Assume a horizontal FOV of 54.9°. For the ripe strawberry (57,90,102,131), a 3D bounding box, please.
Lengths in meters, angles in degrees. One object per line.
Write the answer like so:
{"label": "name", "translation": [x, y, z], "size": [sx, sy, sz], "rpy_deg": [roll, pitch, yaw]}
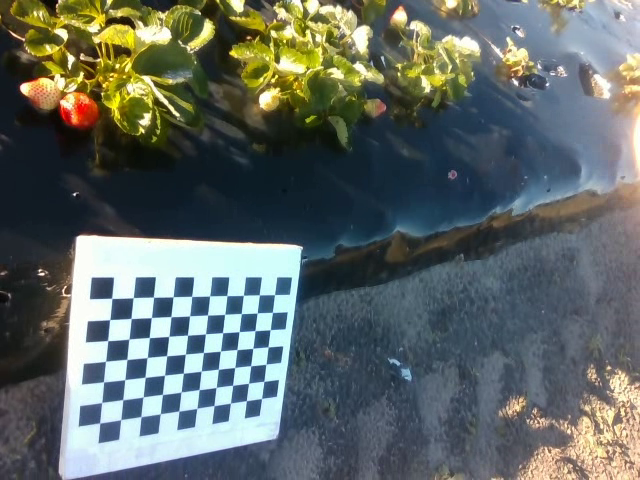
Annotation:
{"label": "ripe strawberry", "translation": [-0.235, -0.125, 0.599], "size": [0.040, 0.038, 0.056], "rpy_deg": [-10, 19, -8]}
